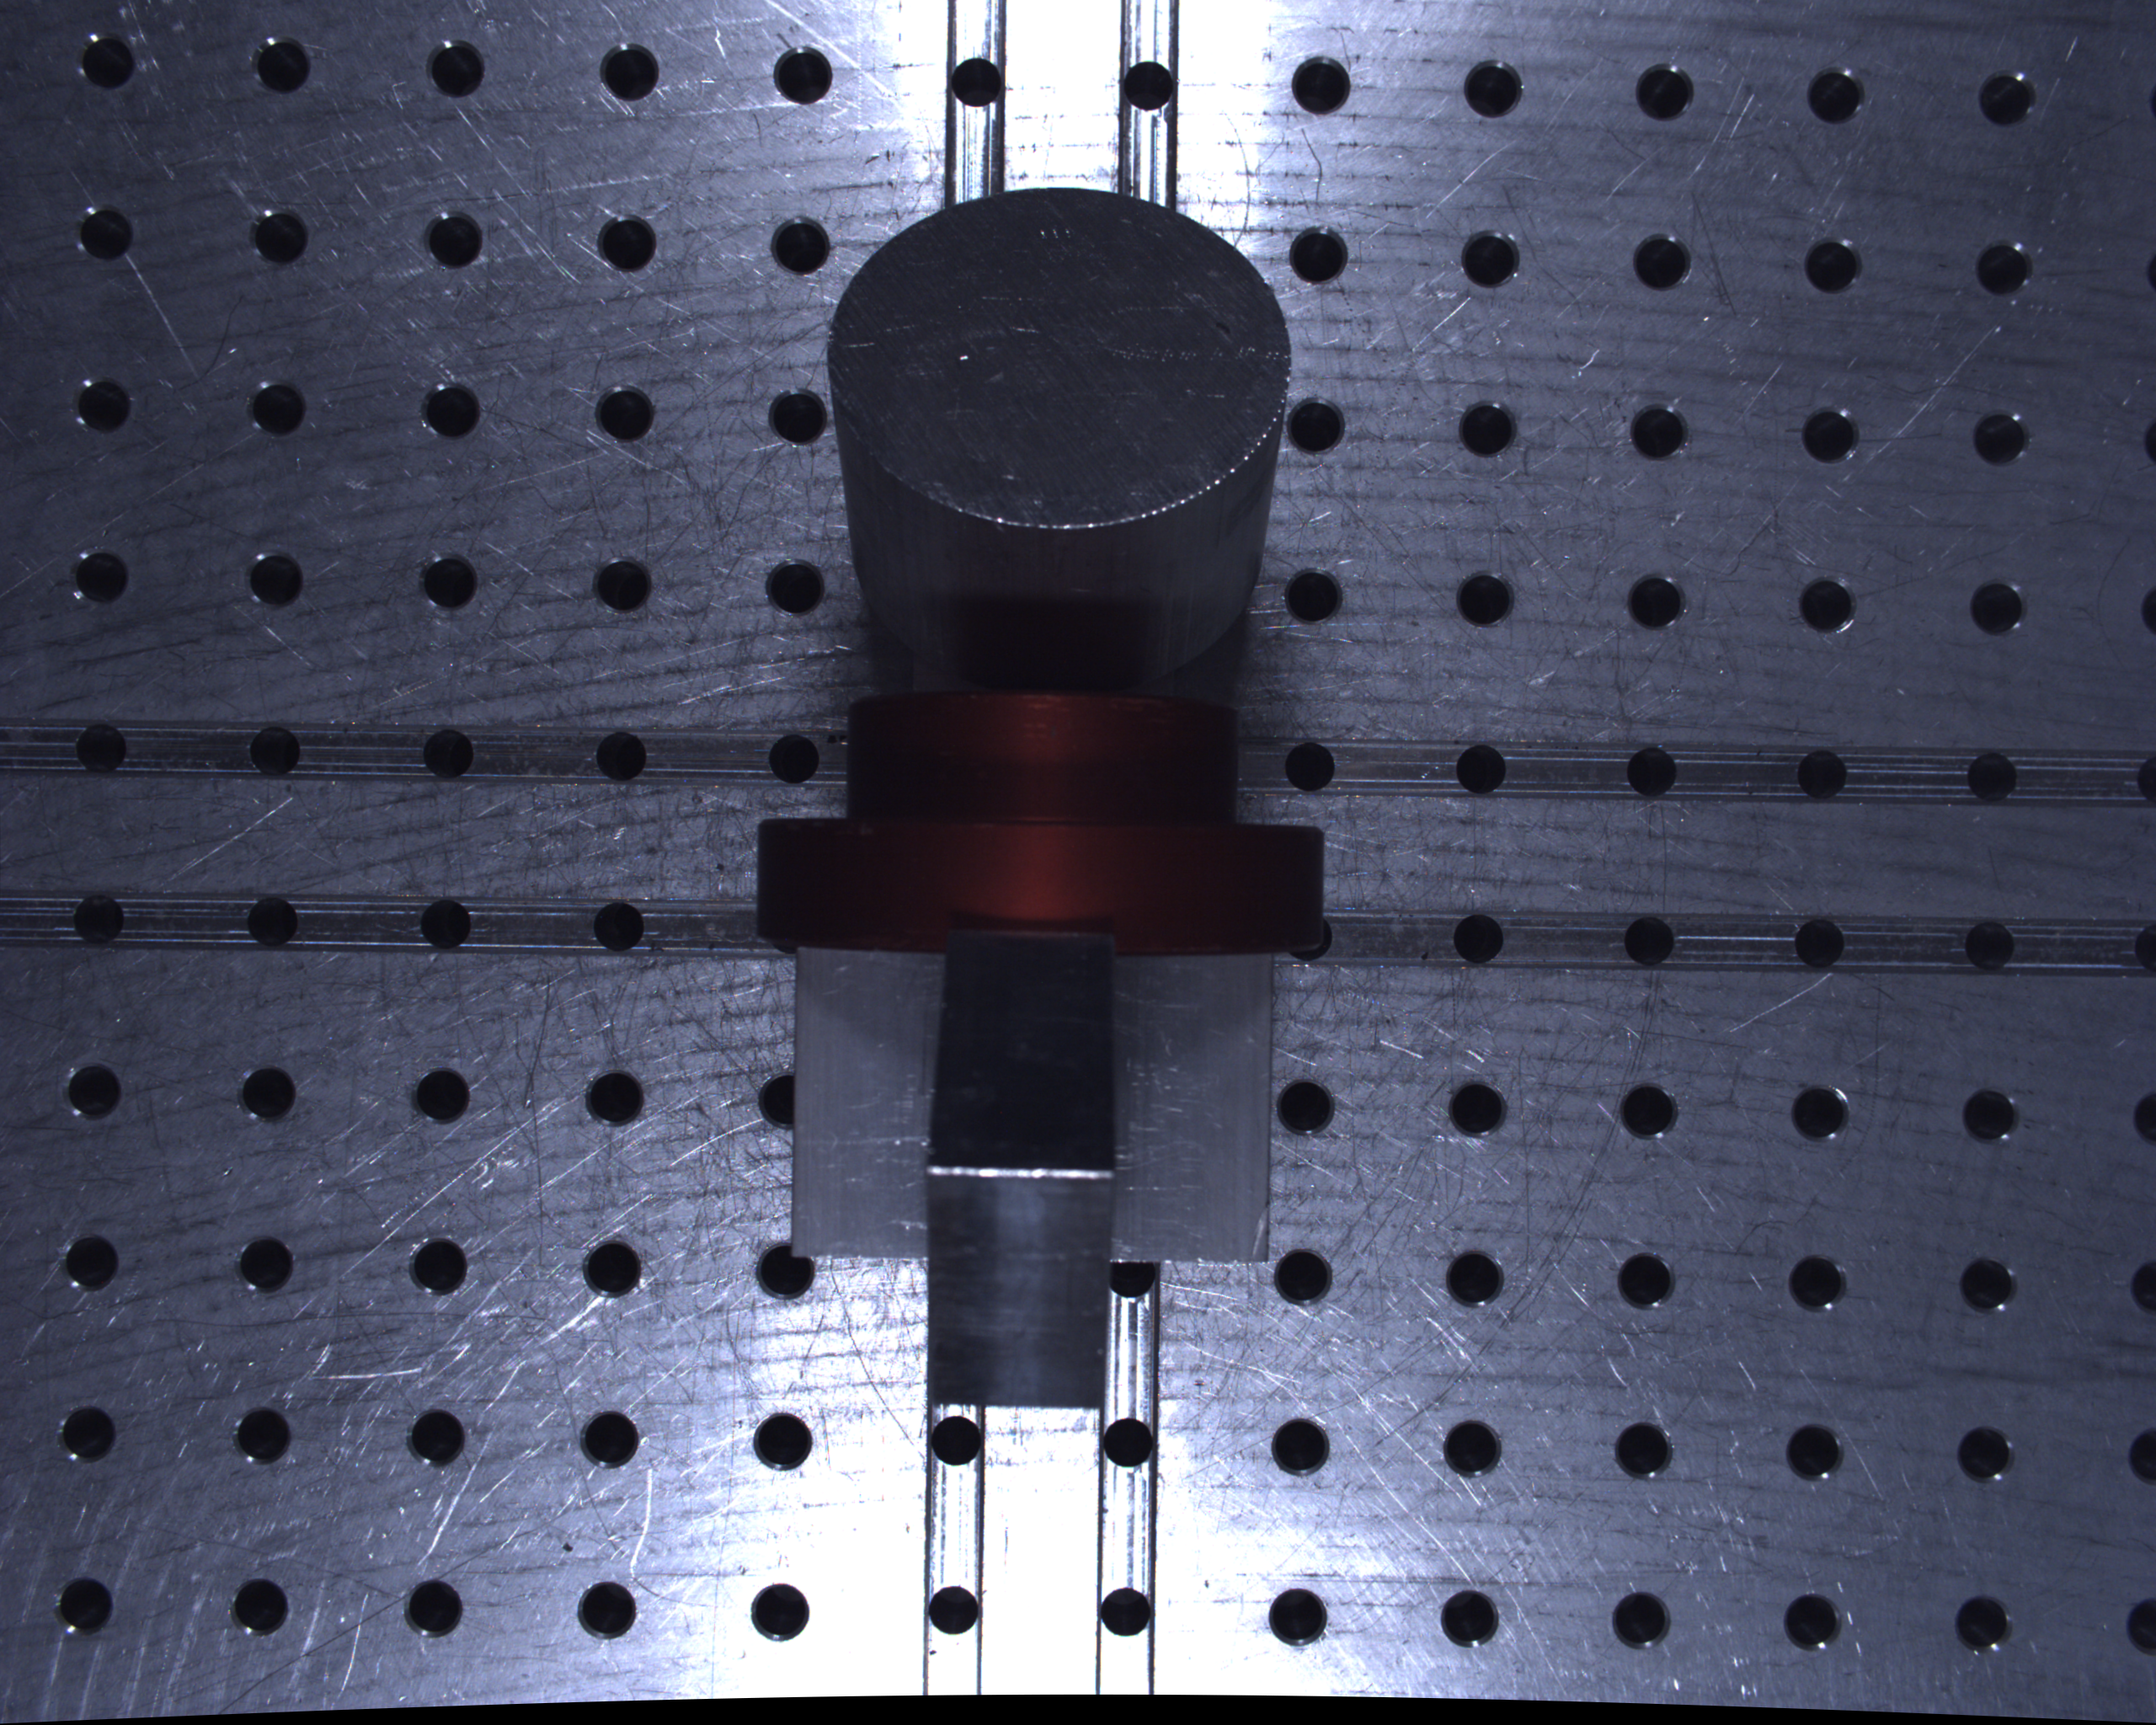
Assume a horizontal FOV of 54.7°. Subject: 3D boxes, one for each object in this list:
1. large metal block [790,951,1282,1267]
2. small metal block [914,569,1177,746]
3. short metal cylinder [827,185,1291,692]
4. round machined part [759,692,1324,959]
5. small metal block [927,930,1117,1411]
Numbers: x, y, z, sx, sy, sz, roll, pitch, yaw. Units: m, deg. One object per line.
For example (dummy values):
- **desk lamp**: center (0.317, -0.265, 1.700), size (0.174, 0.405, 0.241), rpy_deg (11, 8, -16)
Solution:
- **large metal block**: center (-0.007, 0.041, 0.385), size (0.081, 0.080, 0.050), rpy_deg (1, 90, -1)
- **small metal block**: center (-0.006, -0.031, 0.412), size (0.050, 0.025, 0.050), rpy_deg (1, 90, -1)
- **short metal cylinder**: center (-0.004, -0.077, 0.384), size (0.081, 0.050, 0.080), rpy_deg (1, 60, -1)
- **round machined part**: center (-0.006, -0.007, 0.366), size (0.099, 0.098, 0.042), rpy_deg (1, 90, -1)
- **small metal block**: center (-0.008, 0.045, 0.310), size (0.025, 0.050, 0.050), rpy_deg (1, 128, -1)
